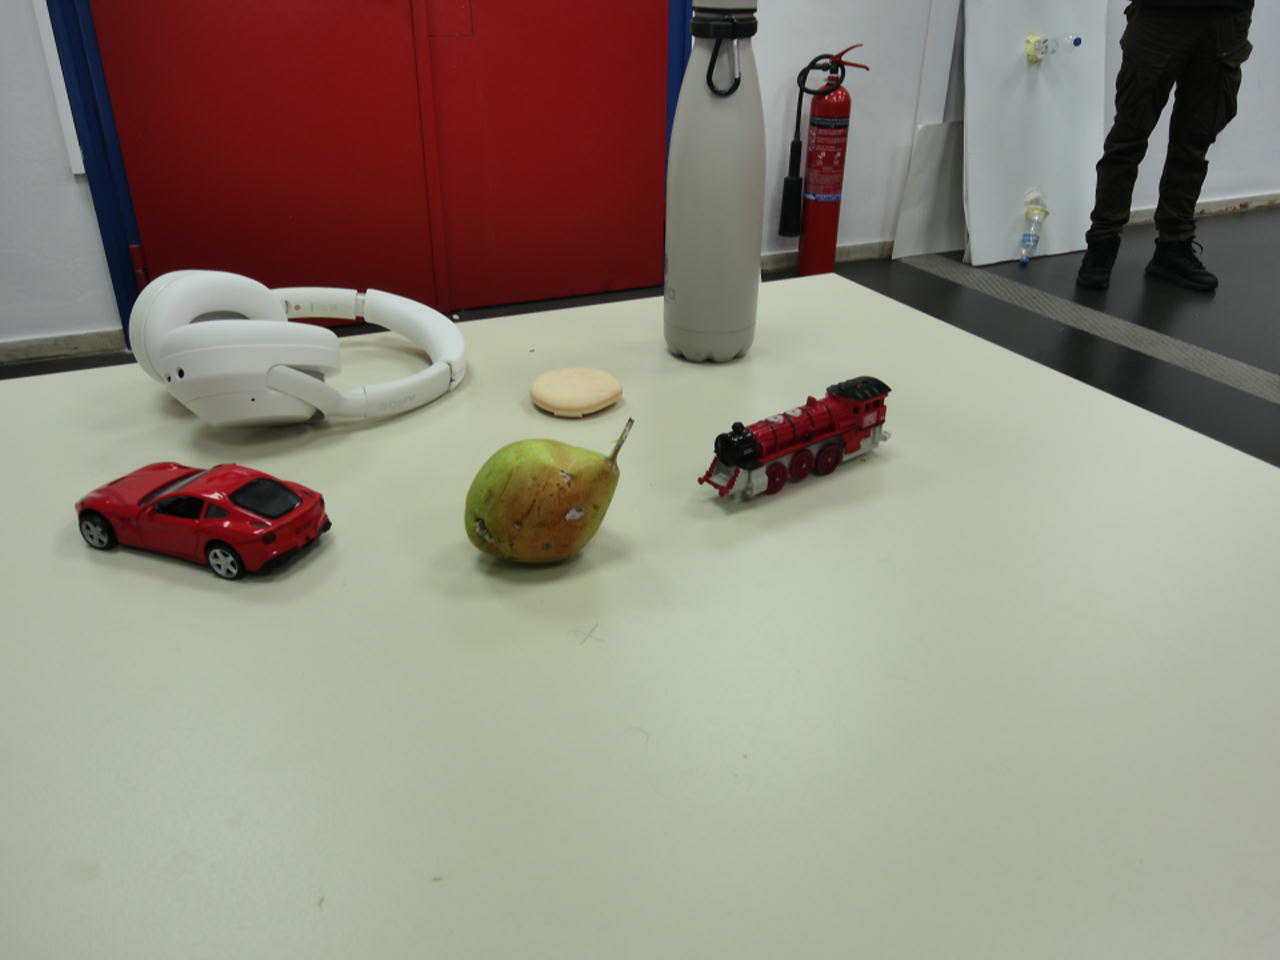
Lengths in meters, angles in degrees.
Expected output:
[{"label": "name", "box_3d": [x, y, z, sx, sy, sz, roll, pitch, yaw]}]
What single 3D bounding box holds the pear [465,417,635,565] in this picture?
[{"label": "pear", "box_3d": [-0.049, 0.008, 0.495, 0.070, 0.069, 0.068, 11, 28, 23]}]
